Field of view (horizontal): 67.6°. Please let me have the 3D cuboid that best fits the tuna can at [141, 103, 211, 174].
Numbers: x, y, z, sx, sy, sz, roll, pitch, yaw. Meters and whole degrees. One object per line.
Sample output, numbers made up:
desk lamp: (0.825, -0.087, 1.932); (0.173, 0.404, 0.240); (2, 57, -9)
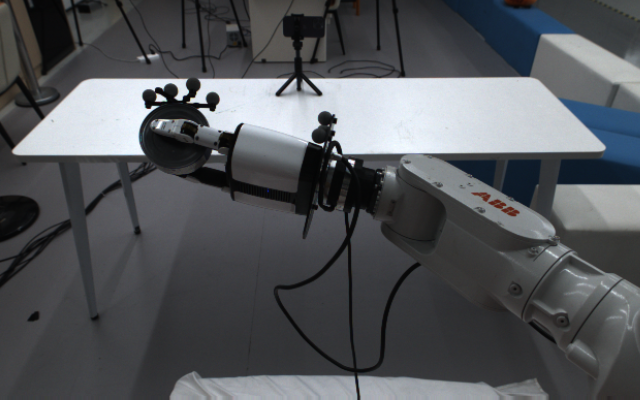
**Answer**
tuna can: (-0.176, -0.074, 0.607); (0.085, 0.034, 0.085); (1, 73, -5)
